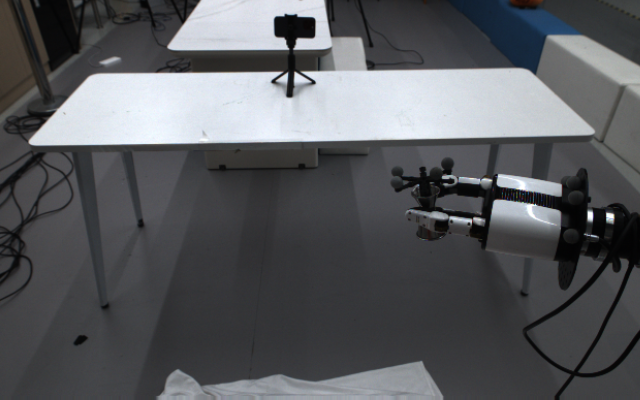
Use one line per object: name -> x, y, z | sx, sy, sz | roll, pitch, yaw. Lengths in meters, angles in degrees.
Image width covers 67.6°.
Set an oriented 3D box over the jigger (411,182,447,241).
jigger -> 0.153, 0.016, 0.687 | 0.043, 0.071, 0.043 | -11, 24, 5
